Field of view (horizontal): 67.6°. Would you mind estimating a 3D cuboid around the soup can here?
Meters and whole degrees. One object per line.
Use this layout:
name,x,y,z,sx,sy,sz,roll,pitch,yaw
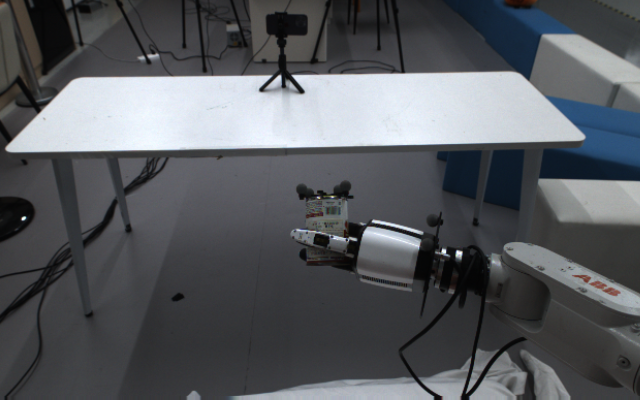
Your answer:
soup can,0.012,0.049,0.739,0.067,0.101,0.067,-1,-9,0
